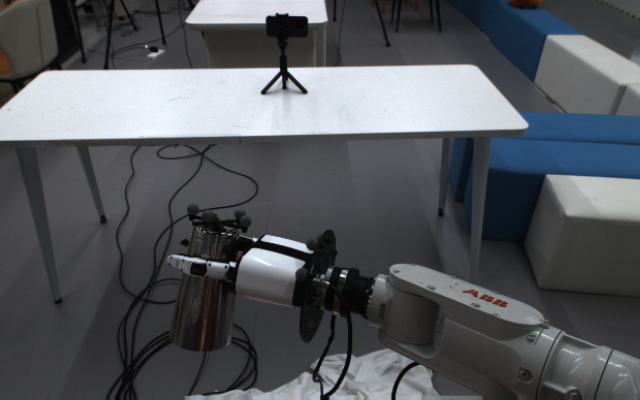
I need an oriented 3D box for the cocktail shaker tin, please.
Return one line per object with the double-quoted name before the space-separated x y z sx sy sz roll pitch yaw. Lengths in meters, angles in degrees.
"cocktail shaker tin" -0.161 0.121 0.713 0.093 0.170 0.093 10 10 -2
